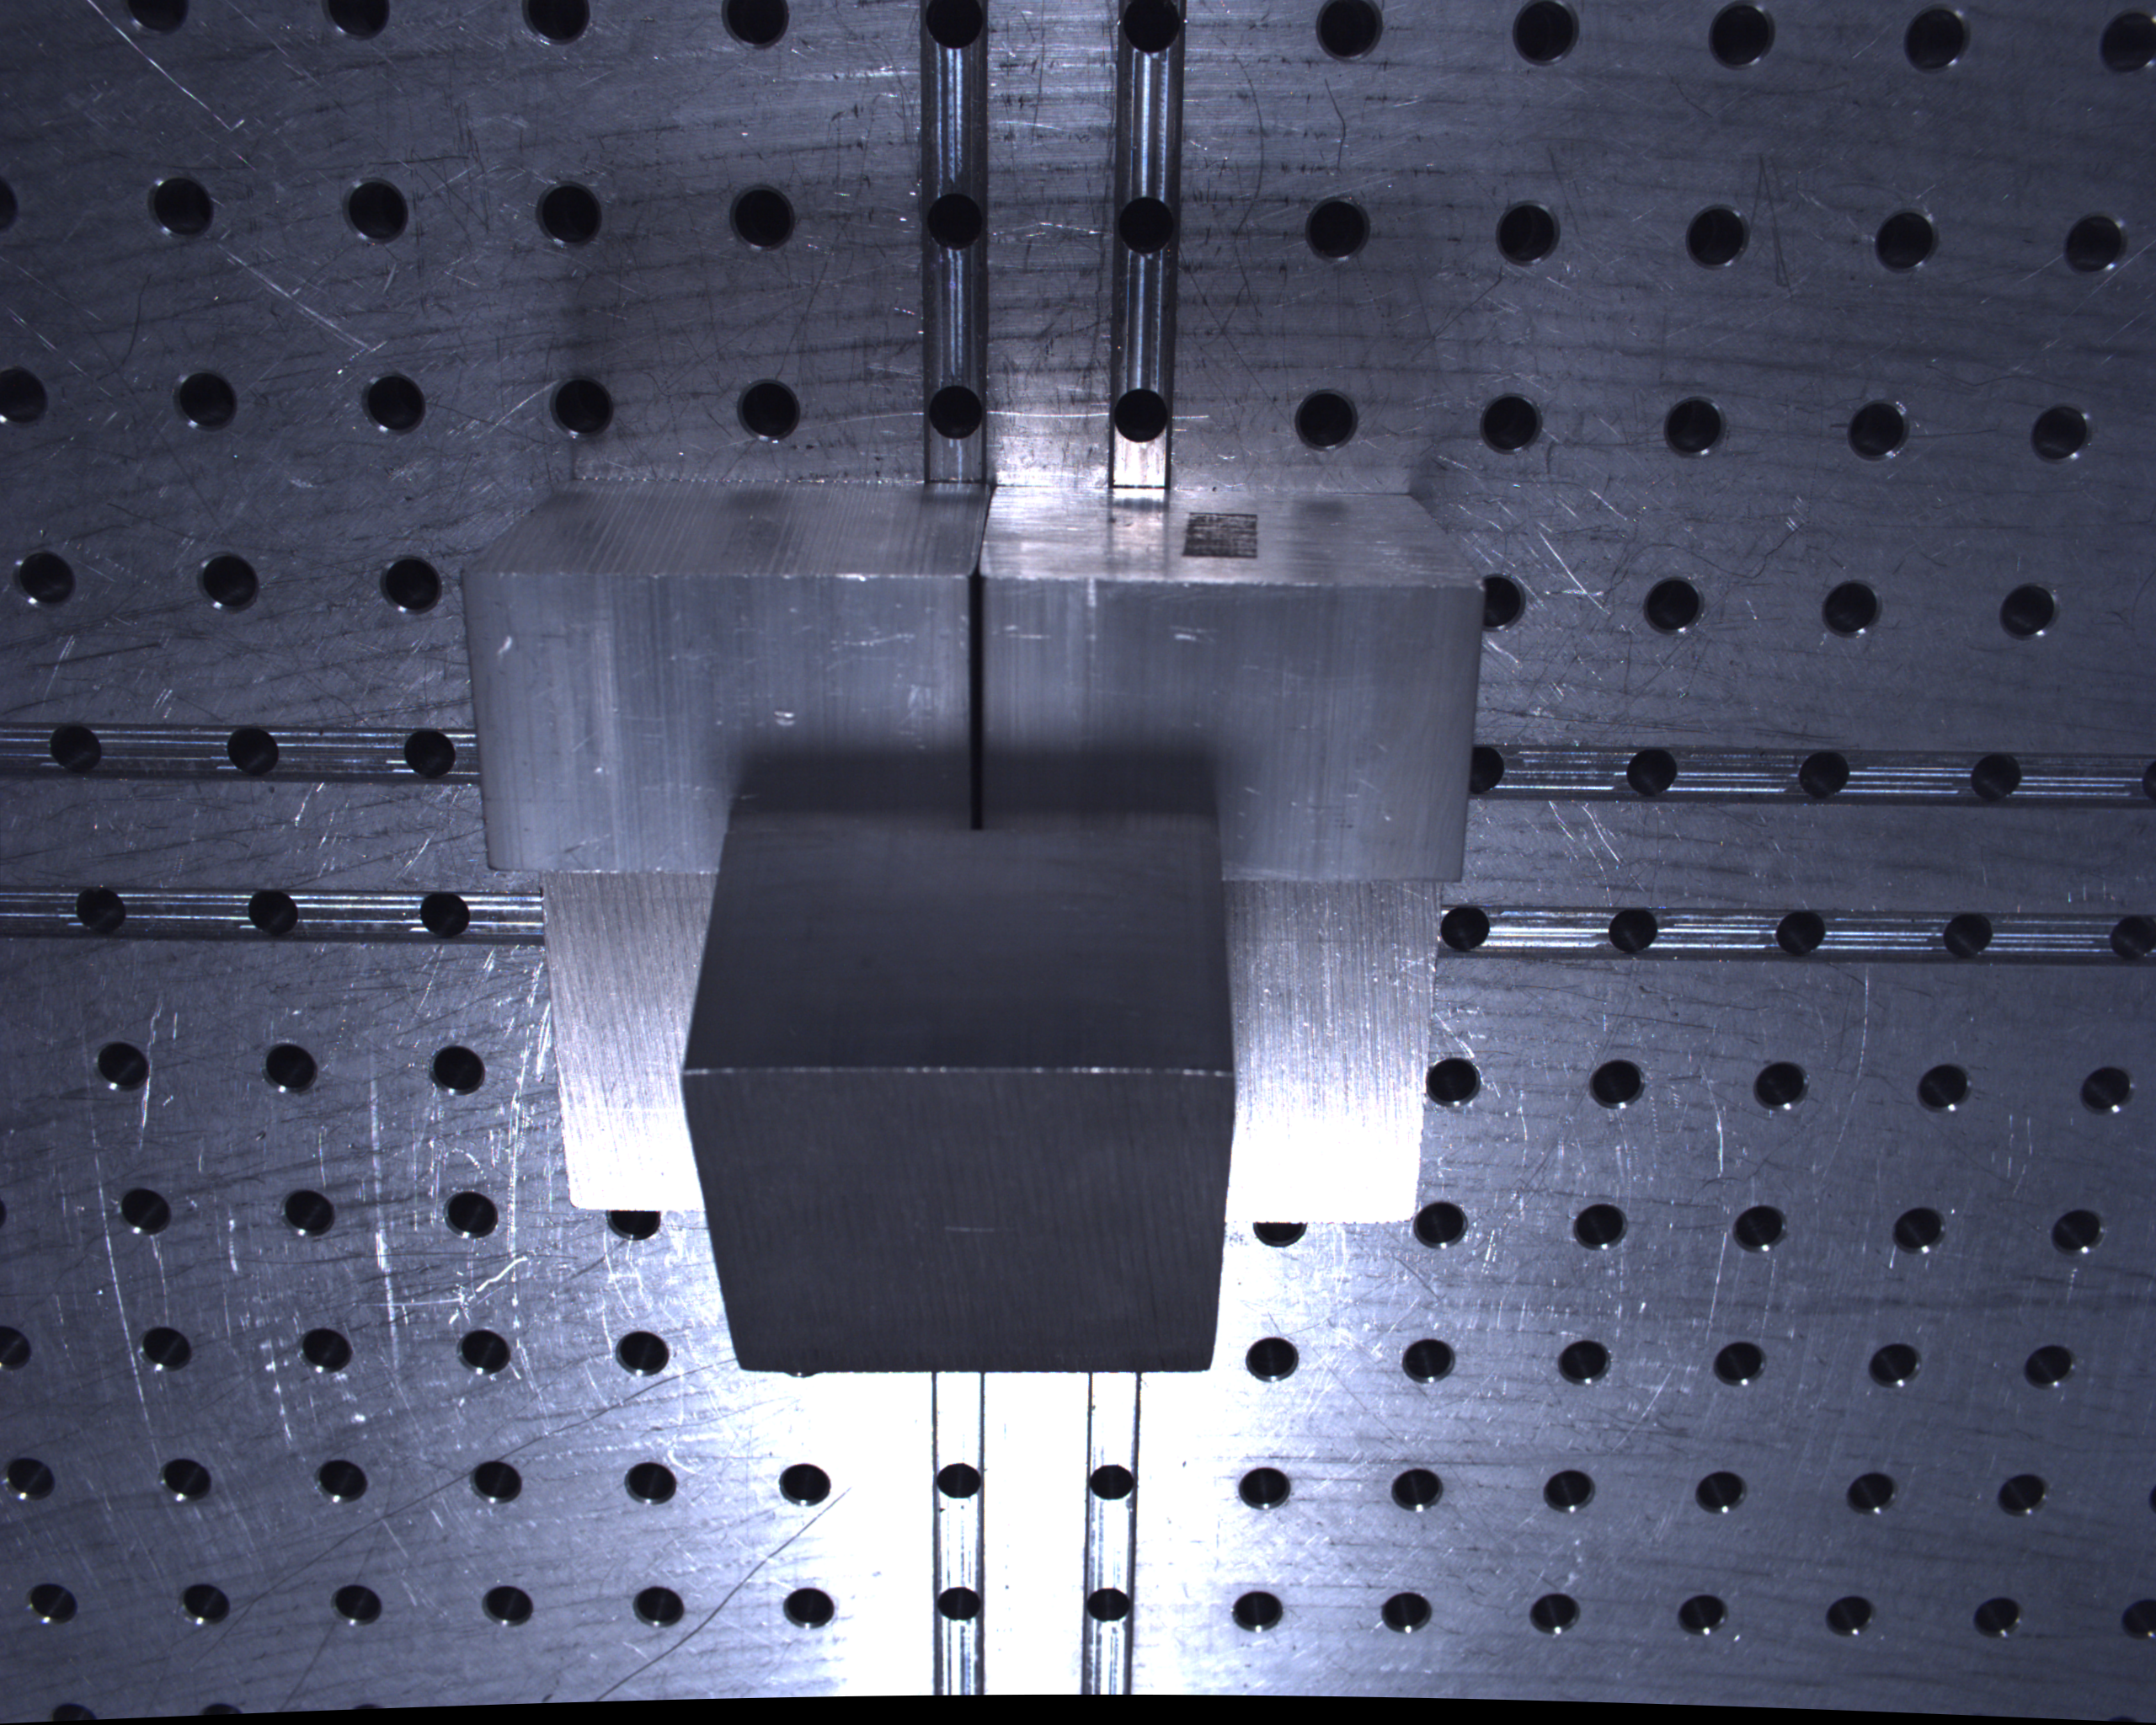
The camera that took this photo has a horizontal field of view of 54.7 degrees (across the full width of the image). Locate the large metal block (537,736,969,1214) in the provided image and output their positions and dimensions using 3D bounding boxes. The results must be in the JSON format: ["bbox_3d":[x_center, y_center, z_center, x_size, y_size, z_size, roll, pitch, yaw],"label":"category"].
[{"bbox_3d":[-0.057,0.021,0.405,0.081,0.050,0.079,1,110,-1],"label":"large metal block"}]

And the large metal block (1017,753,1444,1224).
[{"bbox_3d":[0.025,0.022,0.406,0.081,0.050,0.079,1,110,-1],"label":"large metal block"}]

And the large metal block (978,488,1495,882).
[{"bbox_3d":[0.024,-0.034,0.371,0.081,0.080,0.050,1,110,-1],"label":"large metal block"}]

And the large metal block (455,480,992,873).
[{"bbox_3d":[-0.057,-0.035,0.369,0.081,0.080,0.050,1,110,-1],"label":"large metal block"}]

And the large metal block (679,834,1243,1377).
[{"bbox_3d":[-0.017,0.041,0.344,0.081,0.050,0.079,0,134,-1],"label":"large metal block"}]
